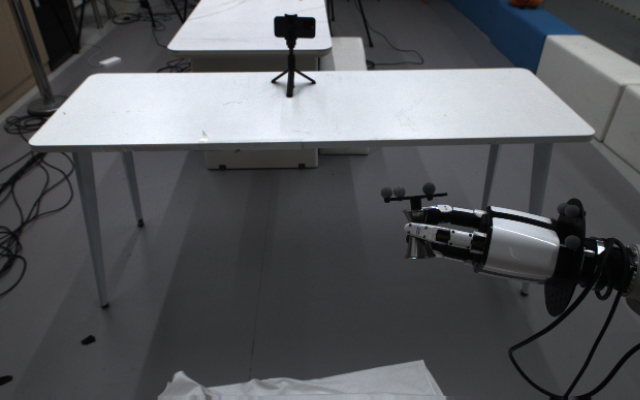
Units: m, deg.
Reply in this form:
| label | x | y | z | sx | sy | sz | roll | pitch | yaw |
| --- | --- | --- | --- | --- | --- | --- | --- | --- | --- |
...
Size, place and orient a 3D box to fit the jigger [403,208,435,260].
| label | x | y | z | sx | sy | sz | roll | pitch | yaw |
| --- | --- | --- | --- | --- | --- | --- | --- | --- | --- |
| jigger | 0.139 | 0.046 | 0.686 | 0.043 | 0.071 | 0.043 | -4 | 1 | 0 |
